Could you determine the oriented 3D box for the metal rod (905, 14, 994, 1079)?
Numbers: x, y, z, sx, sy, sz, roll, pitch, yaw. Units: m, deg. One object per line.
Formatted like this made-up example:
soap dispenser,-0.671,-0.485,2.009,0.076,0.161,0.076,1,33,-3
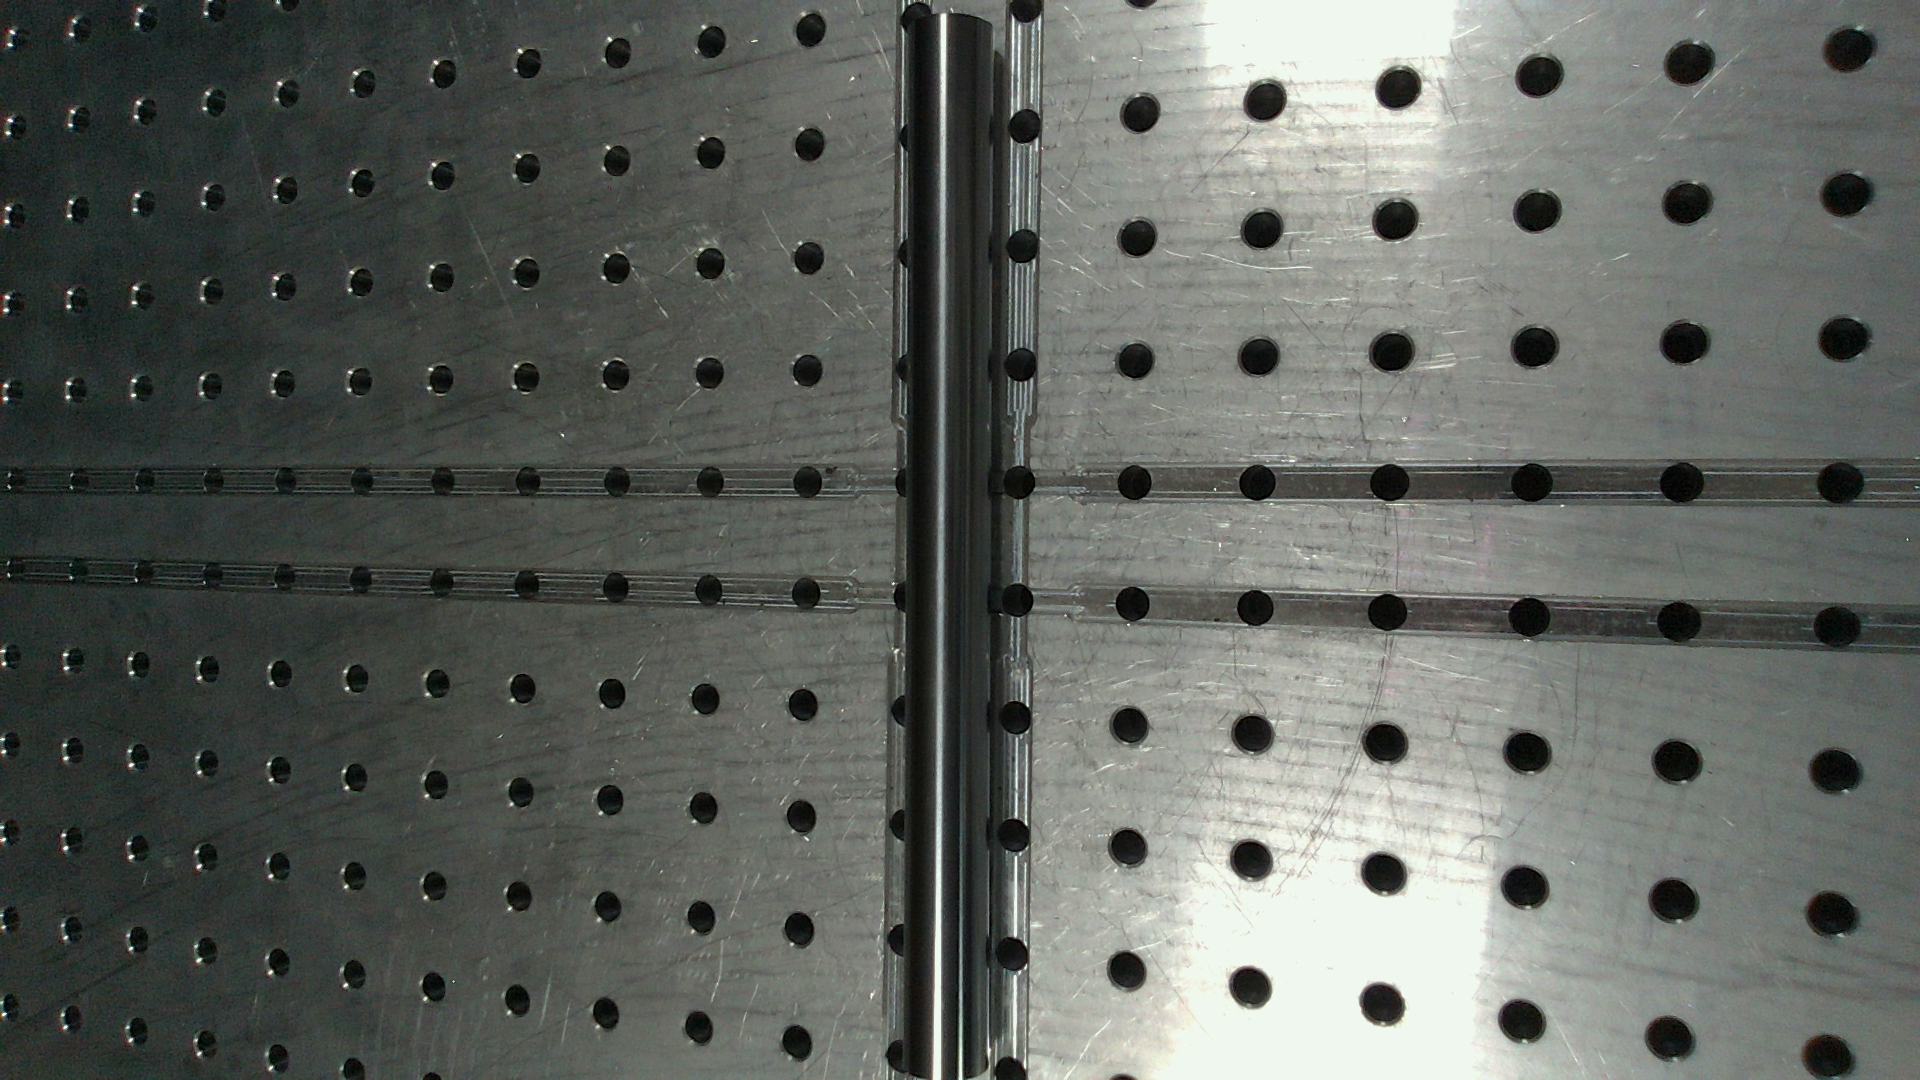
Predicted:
metal rod,-0.003,0.002,0.399,0.025,0.025,0.300,0,90,20
